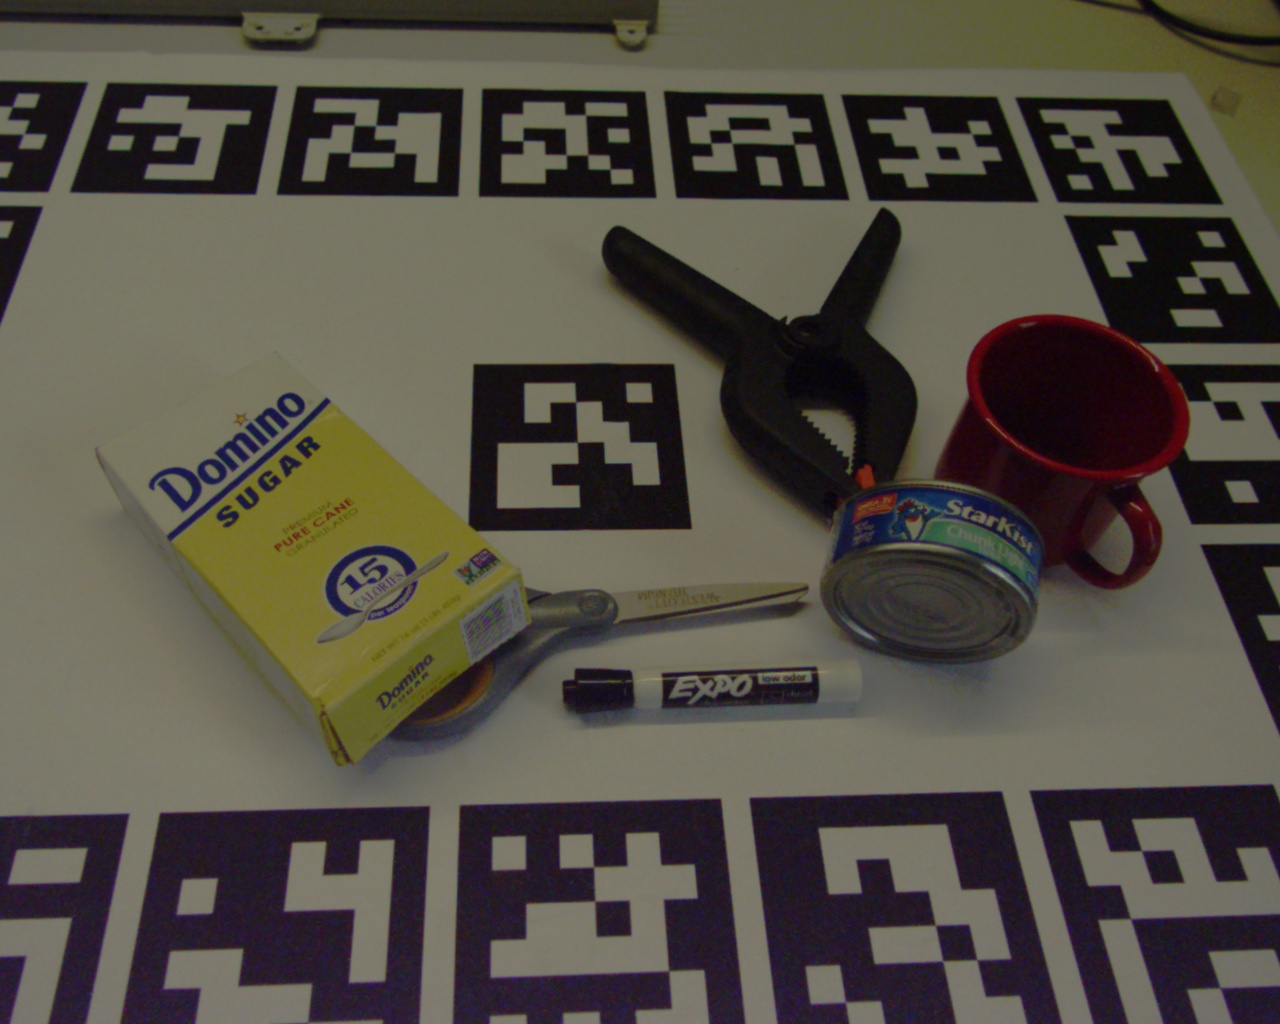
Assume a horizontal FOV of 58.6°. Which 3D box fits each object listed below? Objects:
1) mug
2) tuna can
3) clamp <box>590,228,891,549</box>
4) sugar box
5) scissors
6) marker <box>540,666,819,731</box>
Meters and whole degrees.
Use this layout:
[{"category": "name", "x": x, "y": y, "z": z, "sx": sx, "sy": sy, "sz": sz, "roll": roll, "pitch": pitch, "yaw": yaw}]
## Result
[{"category": "mug", "x": 0.173, "y": -0.009, "z": 0.536, "sx": 0.092, "sy": 0.081, "sz": 0.118, "roll": -25, "pitch": 58, "yaw": -20}, {"category": "tuna can", "x": 0.118, "y": 0.033, "z": 0.497, "sx": 0.086, "sy": 0.085, "sz": 0.034, "roll": 14, "pitch": 55, "yaw": 5}, {"category": "clamp", "x": 0.074, "y": -0.067, "z": 0.604, "sx": 0.164, "sy": 0.036, "sz": 0.204, "roll": -10, "pitch": 58, "yaw": -11}, {"category": "sugar box", "x": -0.138, "y": 0.020, "z": 0.505, "sx": 0.092, "sy": 0.045, "sz": 0.178, "roll": -34, "pitch": 58, "yaw": -24}, {"category": "scissors", "x": -0.031, "y": 0.046, "z": 0.514, "sx": 0.201, "sy": 0.016, "sz": 0.088, "roll": -9, "pitch": 53, "yaw": -12}, {"category": "marker", "x": 0.017, "y": 0.081, "z": 0.496, "sx": 0.121, "sy": 0.019, "sz": 0.020, "roll": -4, "pitch": 57, "yaw": -6}]
